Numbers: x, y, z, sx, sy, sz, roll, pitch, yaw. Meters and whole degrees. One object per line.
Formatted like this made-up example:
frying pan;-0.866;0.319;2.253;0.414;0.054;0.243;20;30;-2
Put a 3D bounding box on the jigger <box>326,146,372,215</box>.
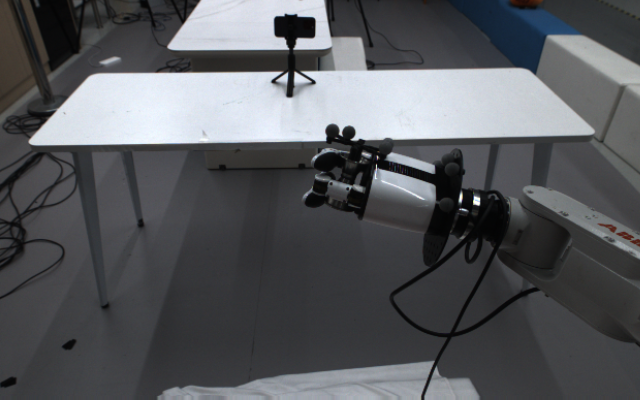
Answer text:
jigger;0.038;-0.025;0.643;0.043;0.071;0.043;15;17;-5
